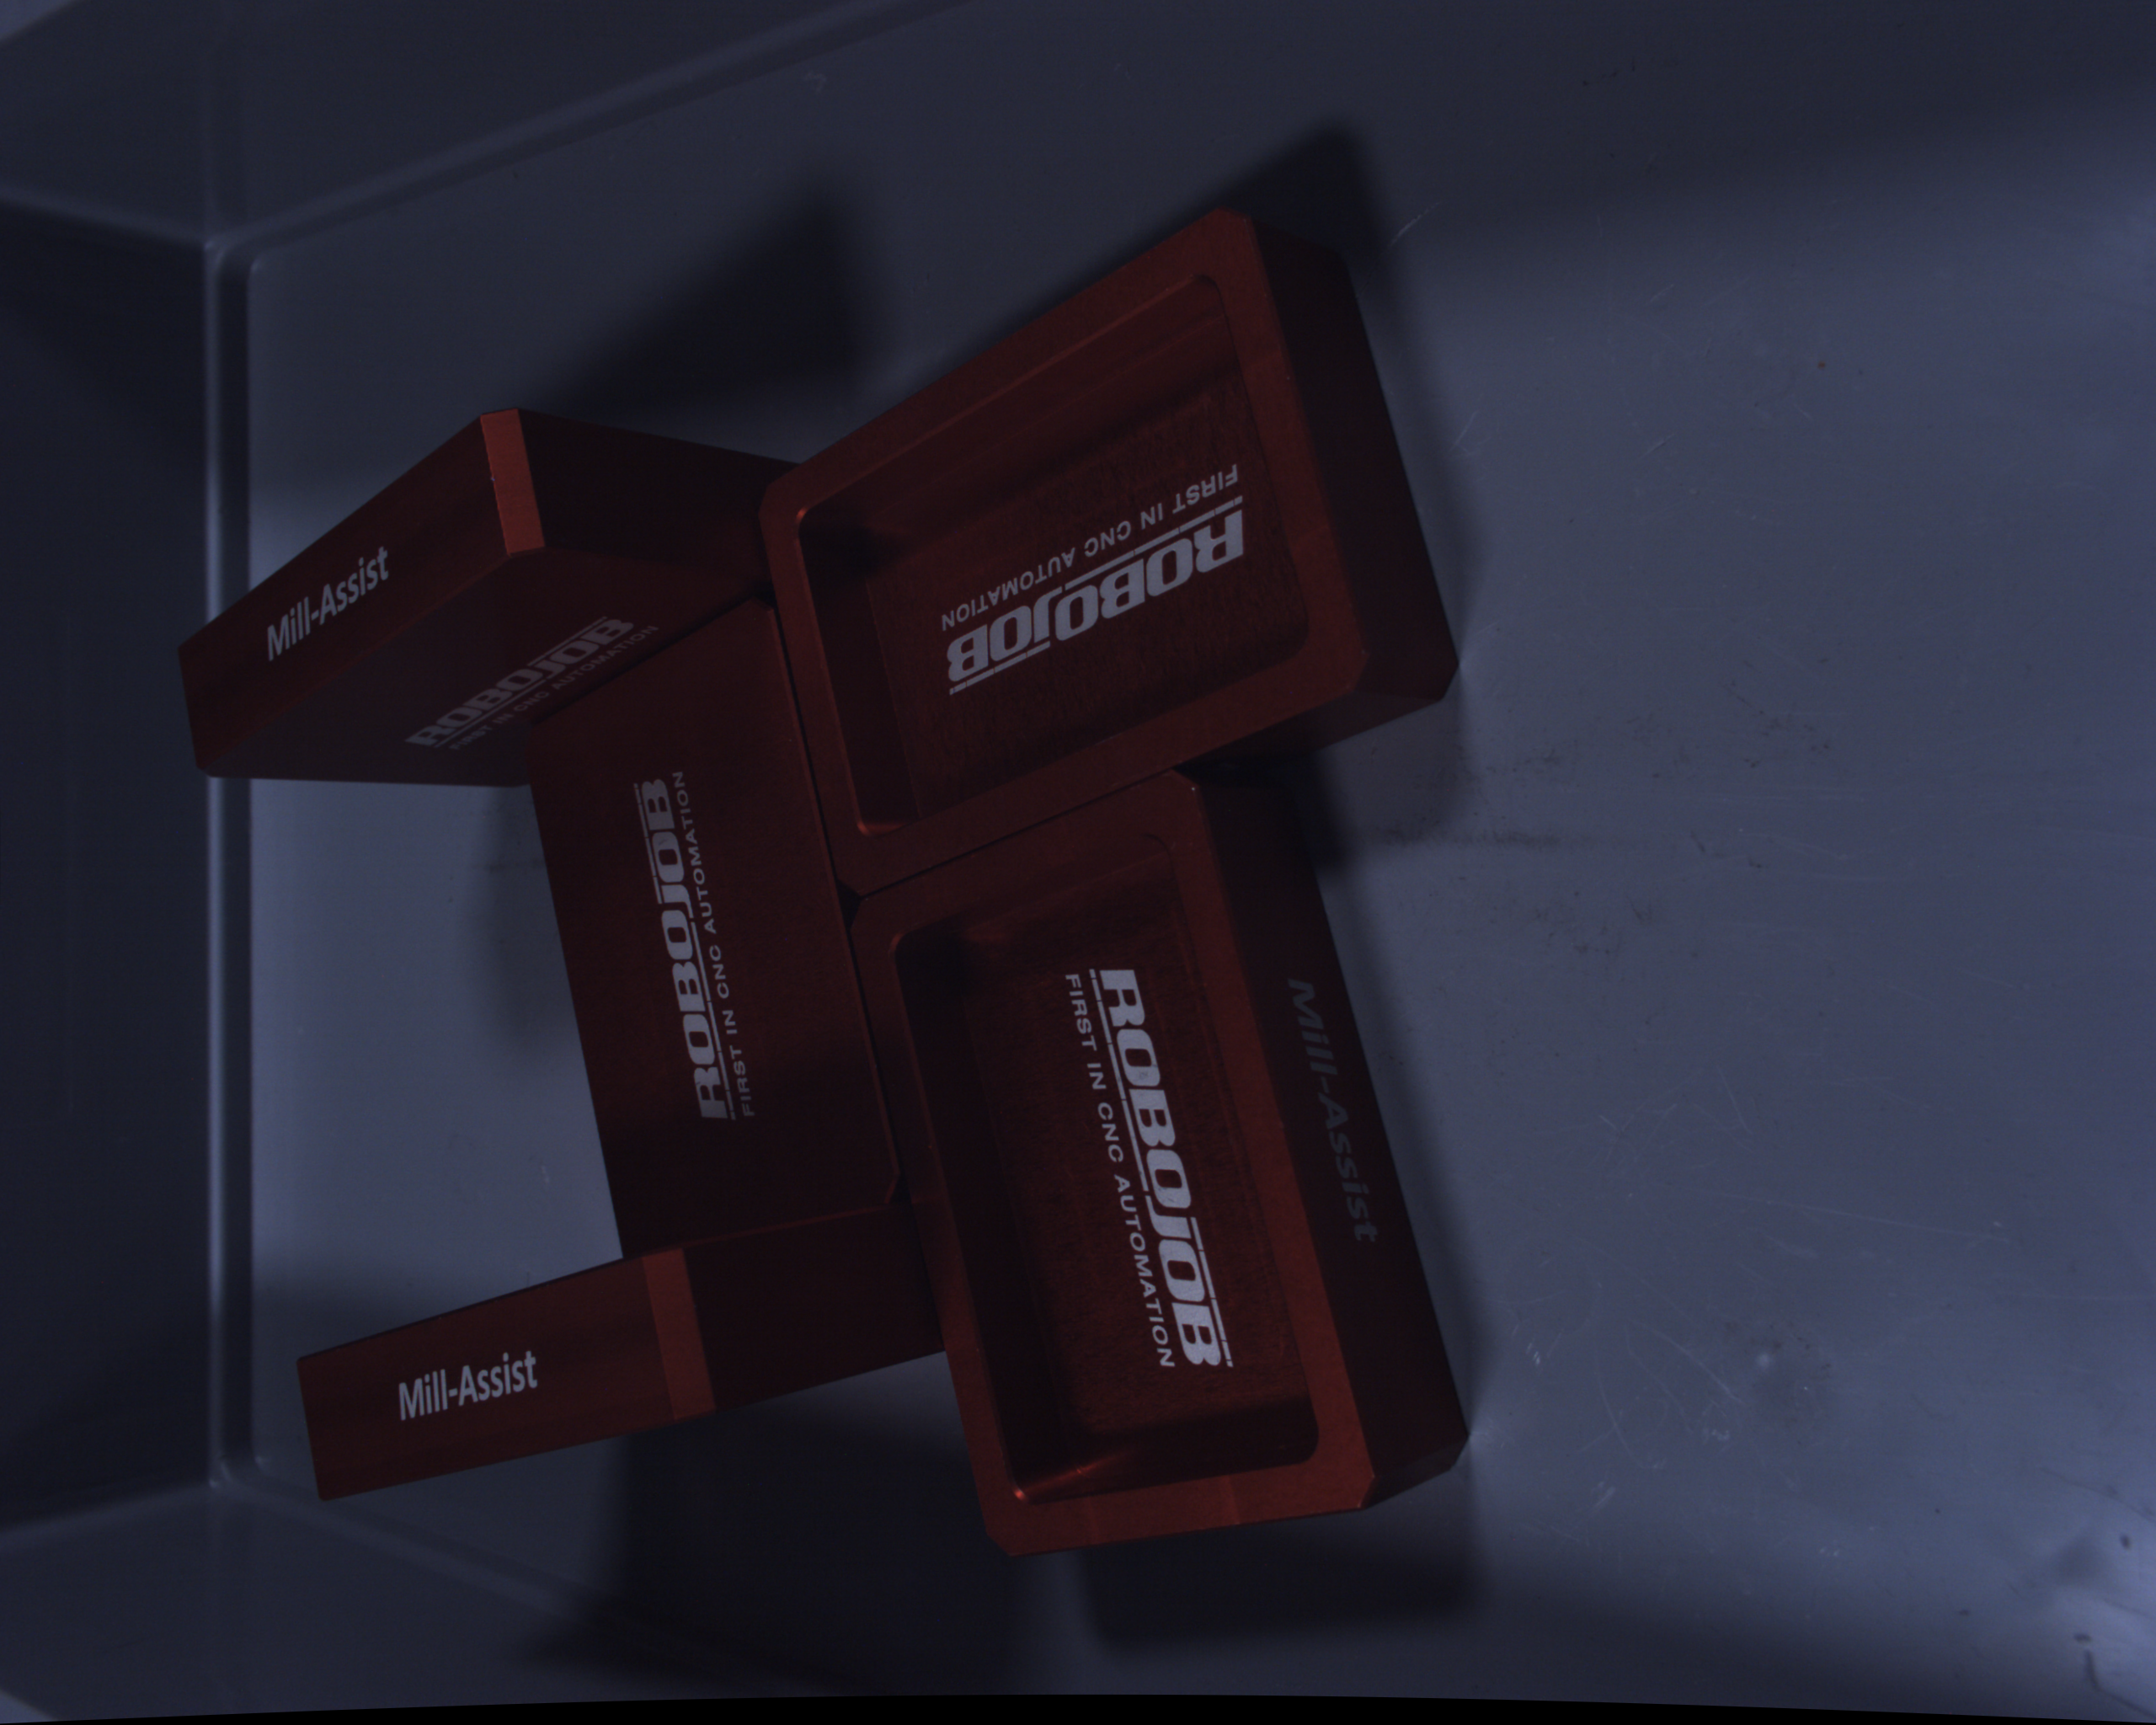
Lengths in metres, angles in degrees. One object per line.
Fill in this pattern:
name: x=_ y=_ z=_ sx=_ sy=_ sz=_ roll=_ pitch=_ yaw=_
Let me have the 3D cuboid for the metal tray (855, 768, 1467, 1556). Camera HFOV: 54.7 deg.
metal tray: x=0.011 y=0.057 z=0.390 sx=0.090 sy=0.030 sz=0.129 roll=-22 pitch=76 yaw=37

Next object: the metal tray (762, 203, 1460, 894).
metal tray: x=0.000 y=-0.054 z=0.399 sx=0.130 sy=0.030 sz=0.090 roll=-22 pitch=77 yaw=37

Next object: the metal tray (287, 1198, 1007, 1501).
metal tray: x=-0.089 y=0.100 z=0.431 sx=0.130 sy=0.091 sz=0.030 roll=-22 pitch=77 yaw=37

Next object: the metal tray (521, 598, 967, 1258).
metal tray: x=-0.073 y=0.018 z=0.458 sx=0.090 sy=0.030 sz=0.129 roll=-22 pitch=76 yaw=37

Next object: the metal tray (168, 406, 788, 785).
metal tray: x=-0.127 y=-0.053 z=0.461 sx=0.130 sy=0.091 sz=0.030 roll=-23 pitch=76 yaw=37
